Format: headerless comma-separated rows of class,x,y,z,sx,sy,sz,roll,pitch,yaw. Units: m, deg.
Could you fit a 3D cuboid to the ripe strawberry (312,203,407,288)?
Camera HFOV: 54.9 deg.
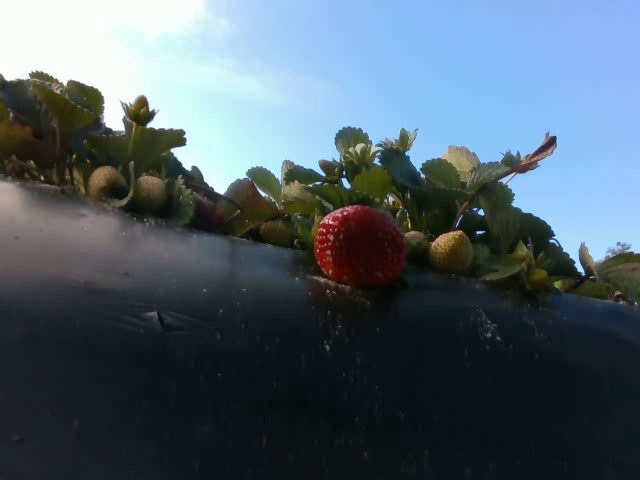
ripe strawberry,0.023,-0.003,0.324,0.052,0.045,0.068,13,-19,0
